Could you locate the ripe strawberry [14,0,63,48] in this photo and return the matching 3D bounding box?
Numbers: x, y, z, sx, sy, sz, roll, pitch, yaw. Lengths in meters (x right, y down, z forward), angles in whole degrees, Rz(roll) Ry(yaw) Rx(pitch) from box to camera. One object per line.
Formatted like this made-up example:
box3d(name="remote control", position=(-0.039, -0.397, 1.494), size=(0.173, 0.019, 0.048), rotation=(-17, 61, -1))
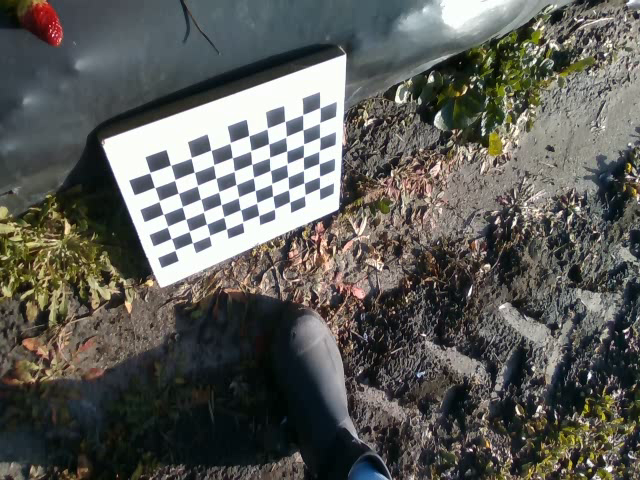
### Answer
box3d(name="ripe strawberry", position=(-0.193, -0.149, 0.426), size=(0.028, 0.041, 0.031), rotation=(-38, 2, 4))
